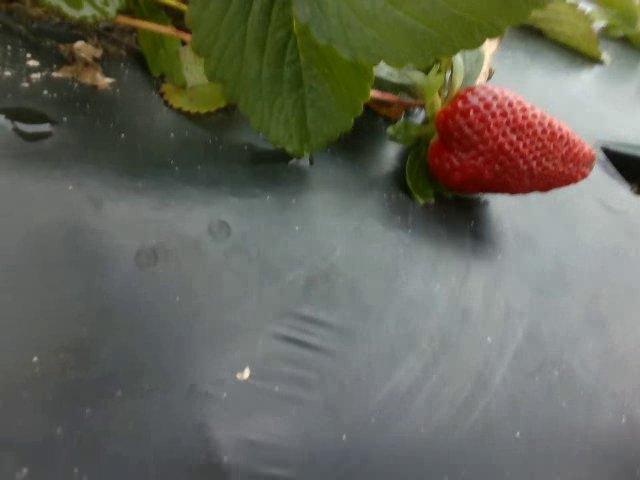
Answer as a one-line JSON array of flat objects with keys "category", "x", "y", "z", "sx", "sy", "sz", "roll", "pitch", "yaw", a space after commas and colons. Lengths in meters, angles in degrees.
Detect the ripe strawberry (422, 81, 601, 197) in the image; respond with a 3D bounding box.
[{"category": "ripe strawberry", "x": 0.068, "y": -0.032, "z": 0.231, "sx": 0.064, "sy": 0.046, "sz": 0.049, "roll": 22, "pitch": 3, "yaw": 22}]
